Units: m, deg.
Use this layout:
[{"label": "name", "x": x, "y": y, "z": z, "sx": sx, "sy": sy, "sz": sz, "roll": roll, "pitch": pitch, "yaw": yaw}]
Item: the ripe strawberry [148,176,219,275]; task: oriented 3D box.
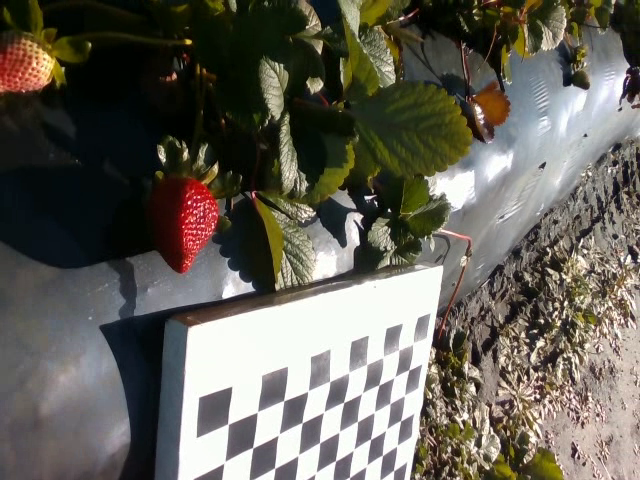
[{"label": "ripe strawberry", "x": -0.075, "y": -0.007, "z": 0.326, "sx": 0.058, "sy": 0.066, "sz": 0.062, "roll": -34, "pitch": 47, "yaw": -3}]
